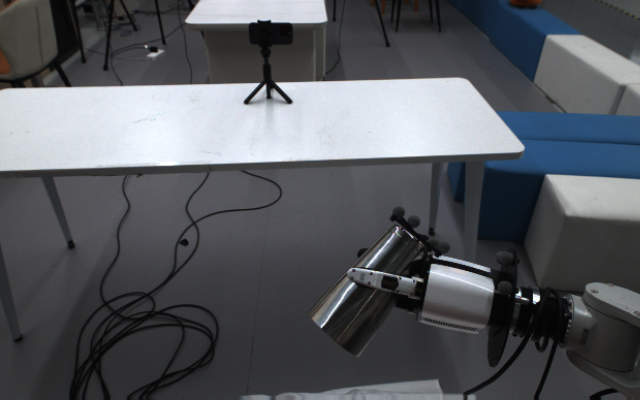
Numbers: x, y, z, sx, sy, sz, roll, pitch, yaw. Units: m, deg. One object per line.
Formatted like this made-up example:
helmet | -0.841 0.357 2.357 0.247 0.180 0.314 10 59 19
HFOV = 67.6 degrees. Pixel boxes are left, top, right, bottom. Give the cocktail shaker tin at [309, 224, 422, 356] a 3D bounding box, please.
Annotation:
cocktail shaker tin | 0.074 0.114 0.670 0.170 0.093 0.093 -48 49 -3
